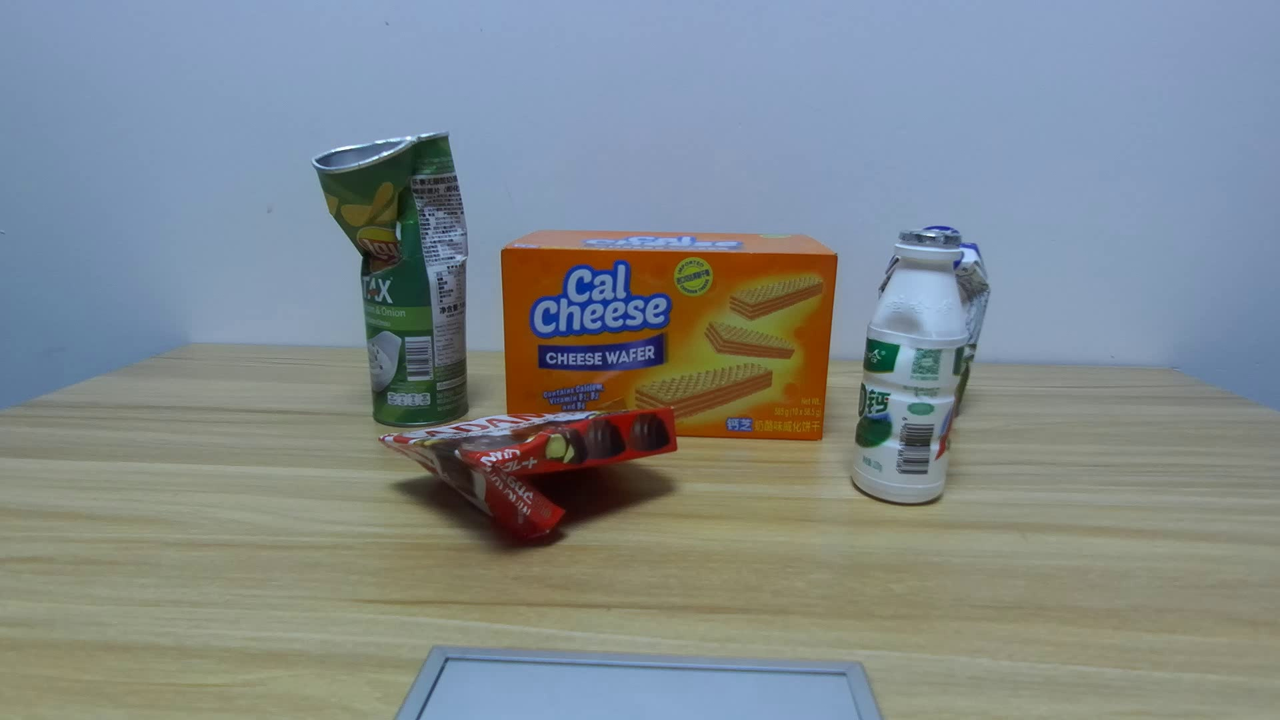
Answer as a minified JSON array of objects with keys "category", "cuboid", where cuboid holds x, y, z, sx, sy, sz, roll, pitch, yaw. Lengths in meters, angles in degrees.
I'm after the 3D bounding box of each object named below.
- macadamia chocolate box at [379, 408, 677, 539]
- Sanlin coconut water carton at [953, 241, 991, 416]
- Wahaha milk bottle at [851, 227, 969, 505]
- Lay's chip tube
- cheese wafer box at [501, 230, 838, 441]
[{"category":"macadamia chocolate box","cuboid":[-0.058,0.048,0.390,0.127,0.056,0.111,-12,20,-39]},{"category":"Sanlin coconut water carton","cuboid":[0.222,-0.030,0.540,0.077,0.142,0.058,8,22,24]},{"category":"Wahaha milk bottle","cuboid":[0.149,0.009,0.390,0.053,0.136,0.053,2,15,0]},{"category":"Lay's chip tube","cuboid":[-0.165,-0.052,0.492,0.079,0.199,0.071,5,24,18]},{"category":"cheese wafer box","cuboid":[0.023,-0.027,0.534,0.222,0.129,0.148,2,16,3]}]
